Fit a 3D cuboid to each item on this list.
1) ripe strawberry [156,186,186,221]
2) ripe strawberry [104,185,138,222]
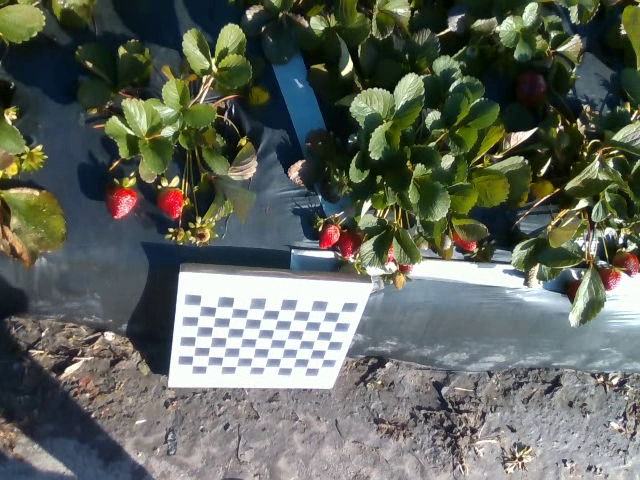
[{"bbox_3d":[-0.211,-0.051,0.867,0.042,0.049,0.039,-26,-21,18],"label":"ripe strawberry"},{"bbox_3d":[-0.282,-0.051,0.849,0.050,0.050,0.044,18,-29,-26],"label":"ripe strawberry"}]
